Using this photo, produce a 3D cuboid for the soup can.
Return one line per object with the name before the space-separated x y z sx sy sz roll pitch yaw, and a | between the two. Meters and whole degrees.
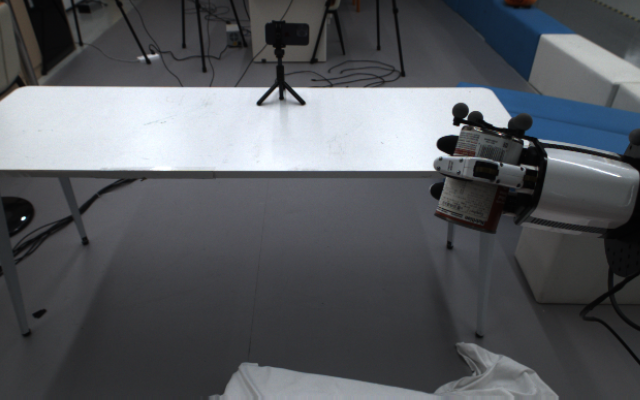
soup can | 0.172 -0.026 0.526 0.067 0.101 0.067 15 6 -2
